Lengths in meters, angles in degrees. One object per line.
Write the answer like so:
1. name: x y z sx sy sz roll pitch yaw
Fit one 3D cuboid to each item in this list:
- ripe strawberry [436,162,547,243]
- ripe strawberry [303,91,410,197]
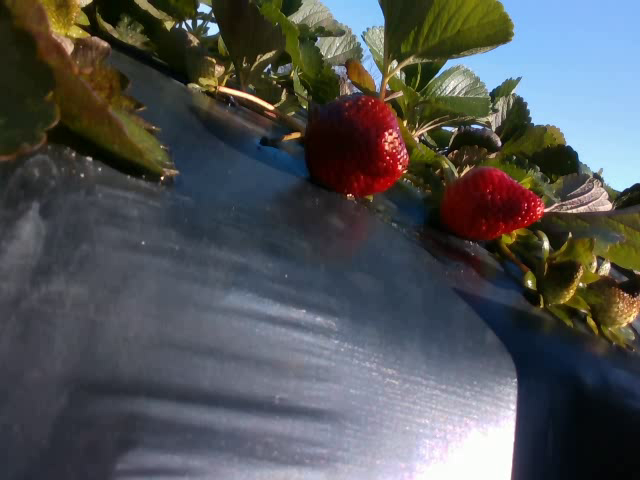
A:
1. ripe strawberry: 0.078 -0.015 0.260 0.042 0.039 0.049 -27 23 -34
2. ripe strawberry: 0.016 -0.038 0.227 0.050 0.045 0.050 38 -11 -14
